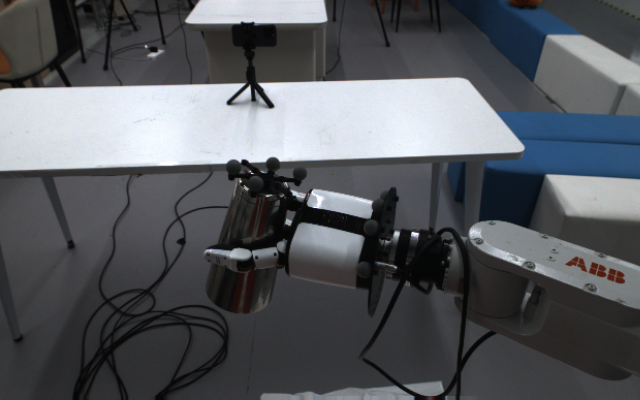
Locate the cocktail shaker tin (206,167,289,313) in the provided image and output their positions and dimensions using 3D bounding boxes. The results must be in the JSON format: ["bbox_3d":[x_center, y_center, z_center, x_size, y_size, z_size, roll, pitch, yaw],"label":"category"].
[{"bbox_3d":[-0.086,0.051,0.620,0.093,0.170,0.093,12,29,-7],"label":"cocktail shaker tin"}]
